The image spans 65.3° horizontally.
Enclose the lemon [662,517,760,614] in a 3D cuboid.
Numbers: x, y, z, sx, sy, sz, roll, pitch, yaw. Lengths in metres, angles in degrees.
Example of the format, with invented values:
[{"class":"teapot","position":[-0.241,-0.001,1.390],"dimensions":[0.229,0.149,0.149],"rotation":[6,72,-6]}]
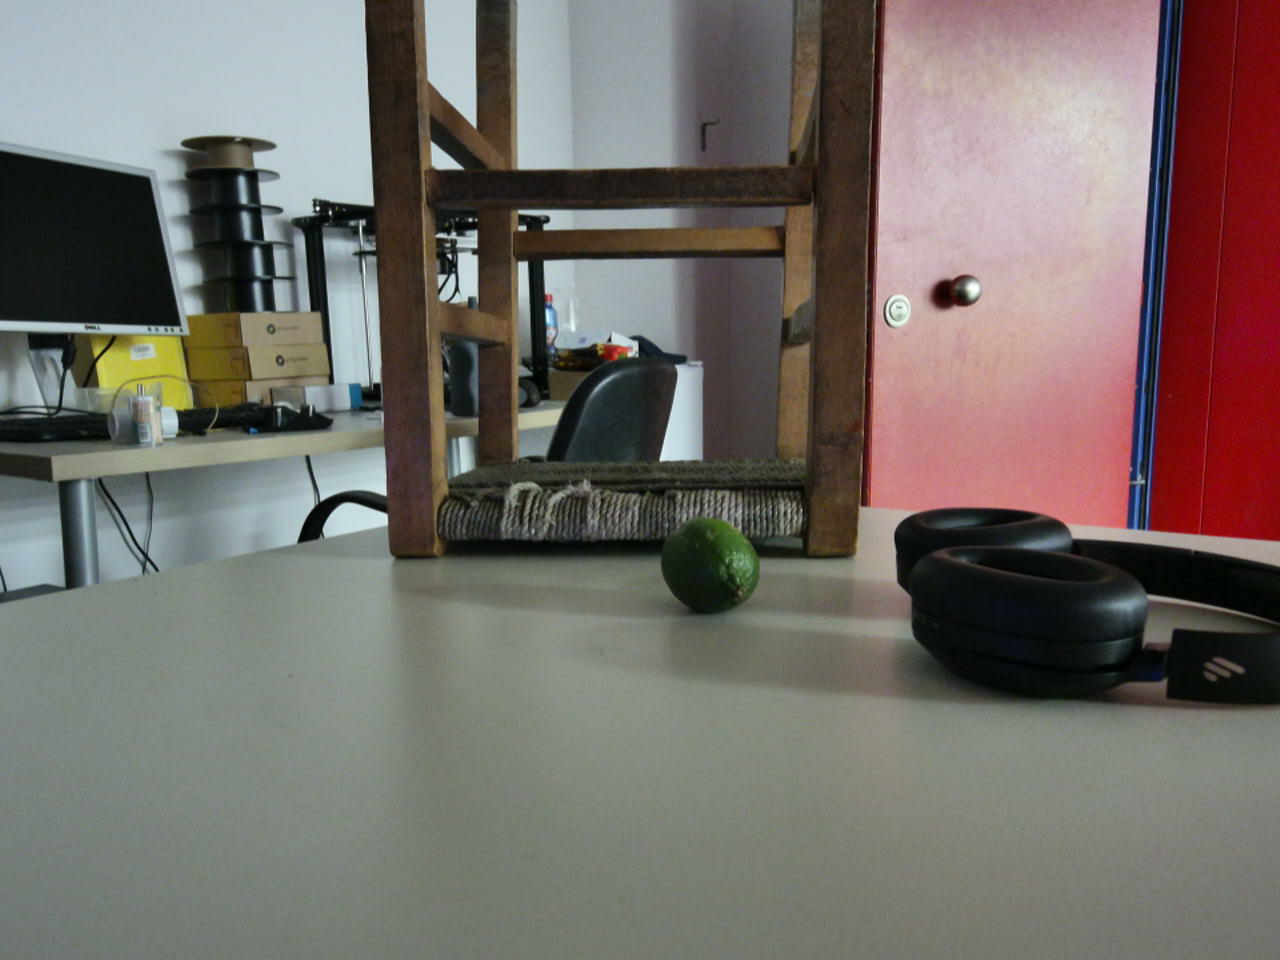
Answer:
[{"class":"lemon","position":[0.040,0.046,0.551],"dimensions":[0.057,0.051,0.054],"rotation":[4,7,32]}]
